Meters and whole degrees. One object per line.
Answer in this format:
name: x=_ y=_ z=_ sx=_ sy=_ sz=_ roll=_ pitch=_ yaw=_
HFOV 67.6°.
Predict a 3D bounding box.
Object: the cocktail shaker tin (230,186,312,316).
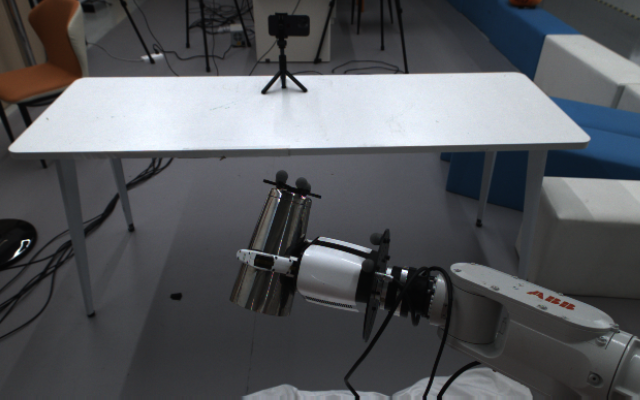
cocktail shaker tin: x=-0.065 y=0.074 z=0.709 sx=0.093 sy=0.170 sz=0.093 roll=15 pitch=-4 yaw=1
